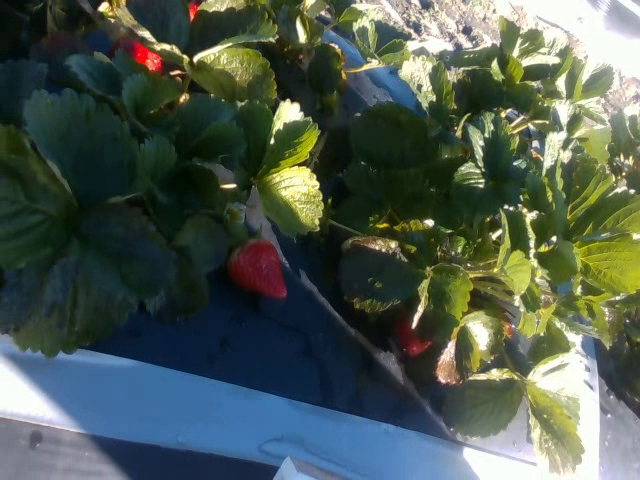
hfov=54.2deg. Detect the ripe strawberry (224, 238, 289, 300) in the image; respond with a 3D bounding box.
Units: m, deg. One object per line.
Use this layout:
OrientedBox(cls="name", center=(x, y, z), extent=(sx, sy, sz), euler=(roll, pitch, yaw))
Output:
OrientedBox(cls="ripe strawberry", center=(-0.042, 0.023, 0.445), extent=(0.045, 0.059, 0.042), euler=(-34, -1, -10))
